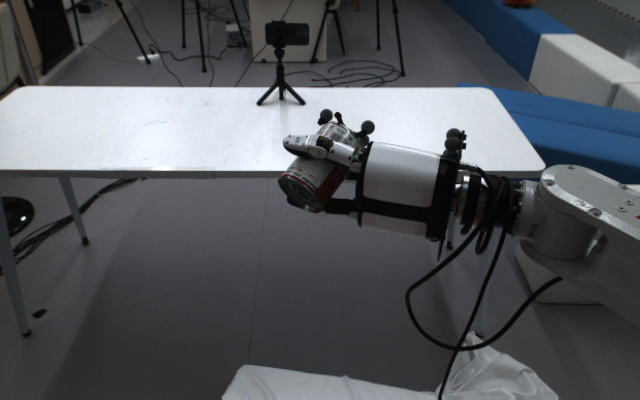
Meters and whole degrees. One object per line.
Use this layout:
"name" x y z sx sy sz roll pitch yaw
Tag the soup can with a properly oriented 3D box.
"soup can" 0.003 -0.044 0.624 0.067 0.067 0.101 25 66 30
